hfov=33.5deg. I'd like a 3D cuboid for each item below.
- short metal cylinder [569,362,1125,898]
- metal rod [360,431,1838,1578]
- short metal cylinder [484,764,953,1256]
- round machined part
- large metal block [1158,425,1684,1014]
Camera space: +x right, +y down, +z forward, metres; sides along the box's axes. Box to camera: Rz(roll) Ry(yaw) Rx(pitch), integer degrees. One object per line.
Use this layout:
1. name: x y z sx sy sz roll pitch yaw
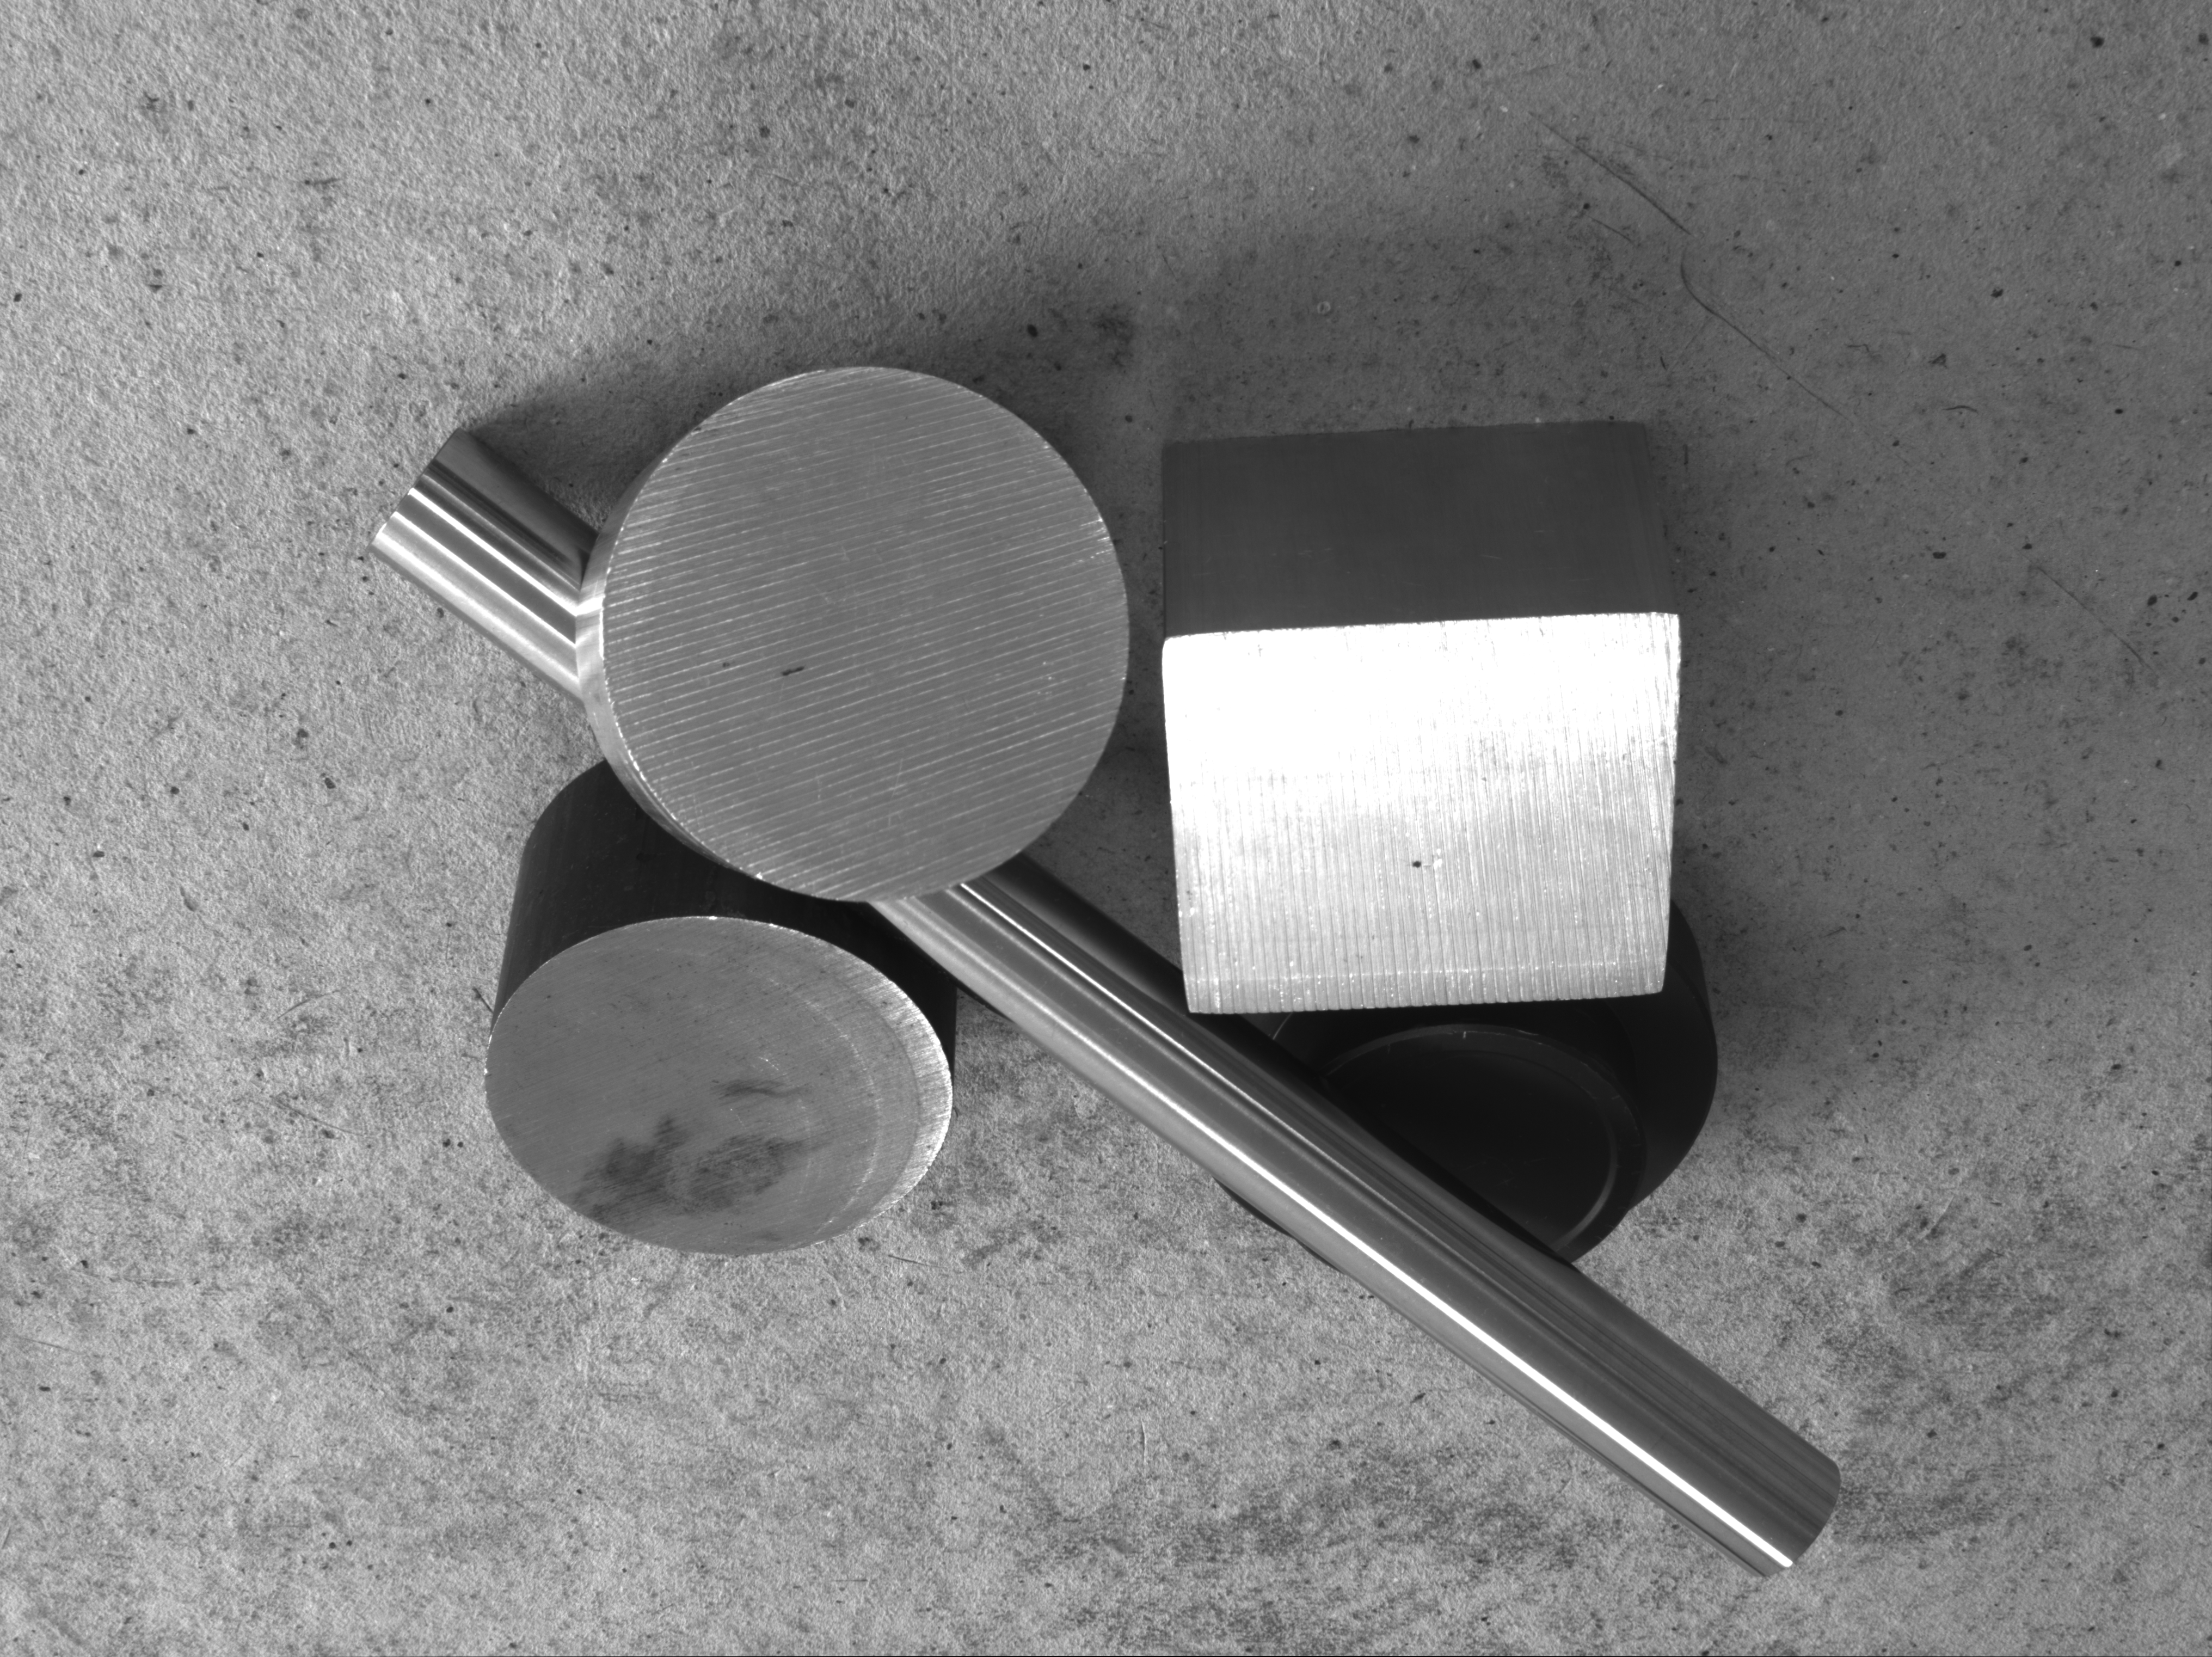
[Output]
1. short metal cylinder: -0.042 -0.030 0.573 0.080 0.050 0.080 0 92 -13
2. metal rod: 0.004 0.034 0.624 0.300 0.025 0.025 37 122 -11
3. short metal cylinder: -0.066 0.030 0.649 0.080 0.050 0.080 0 130 0
4. round machined part: 0.062 0.048 0.668 0.098 0.042 0.098 0 130 0
5. large metal block: 0.051 -0.017 0.607 0.080 0.050 0.080 -3 130 2
